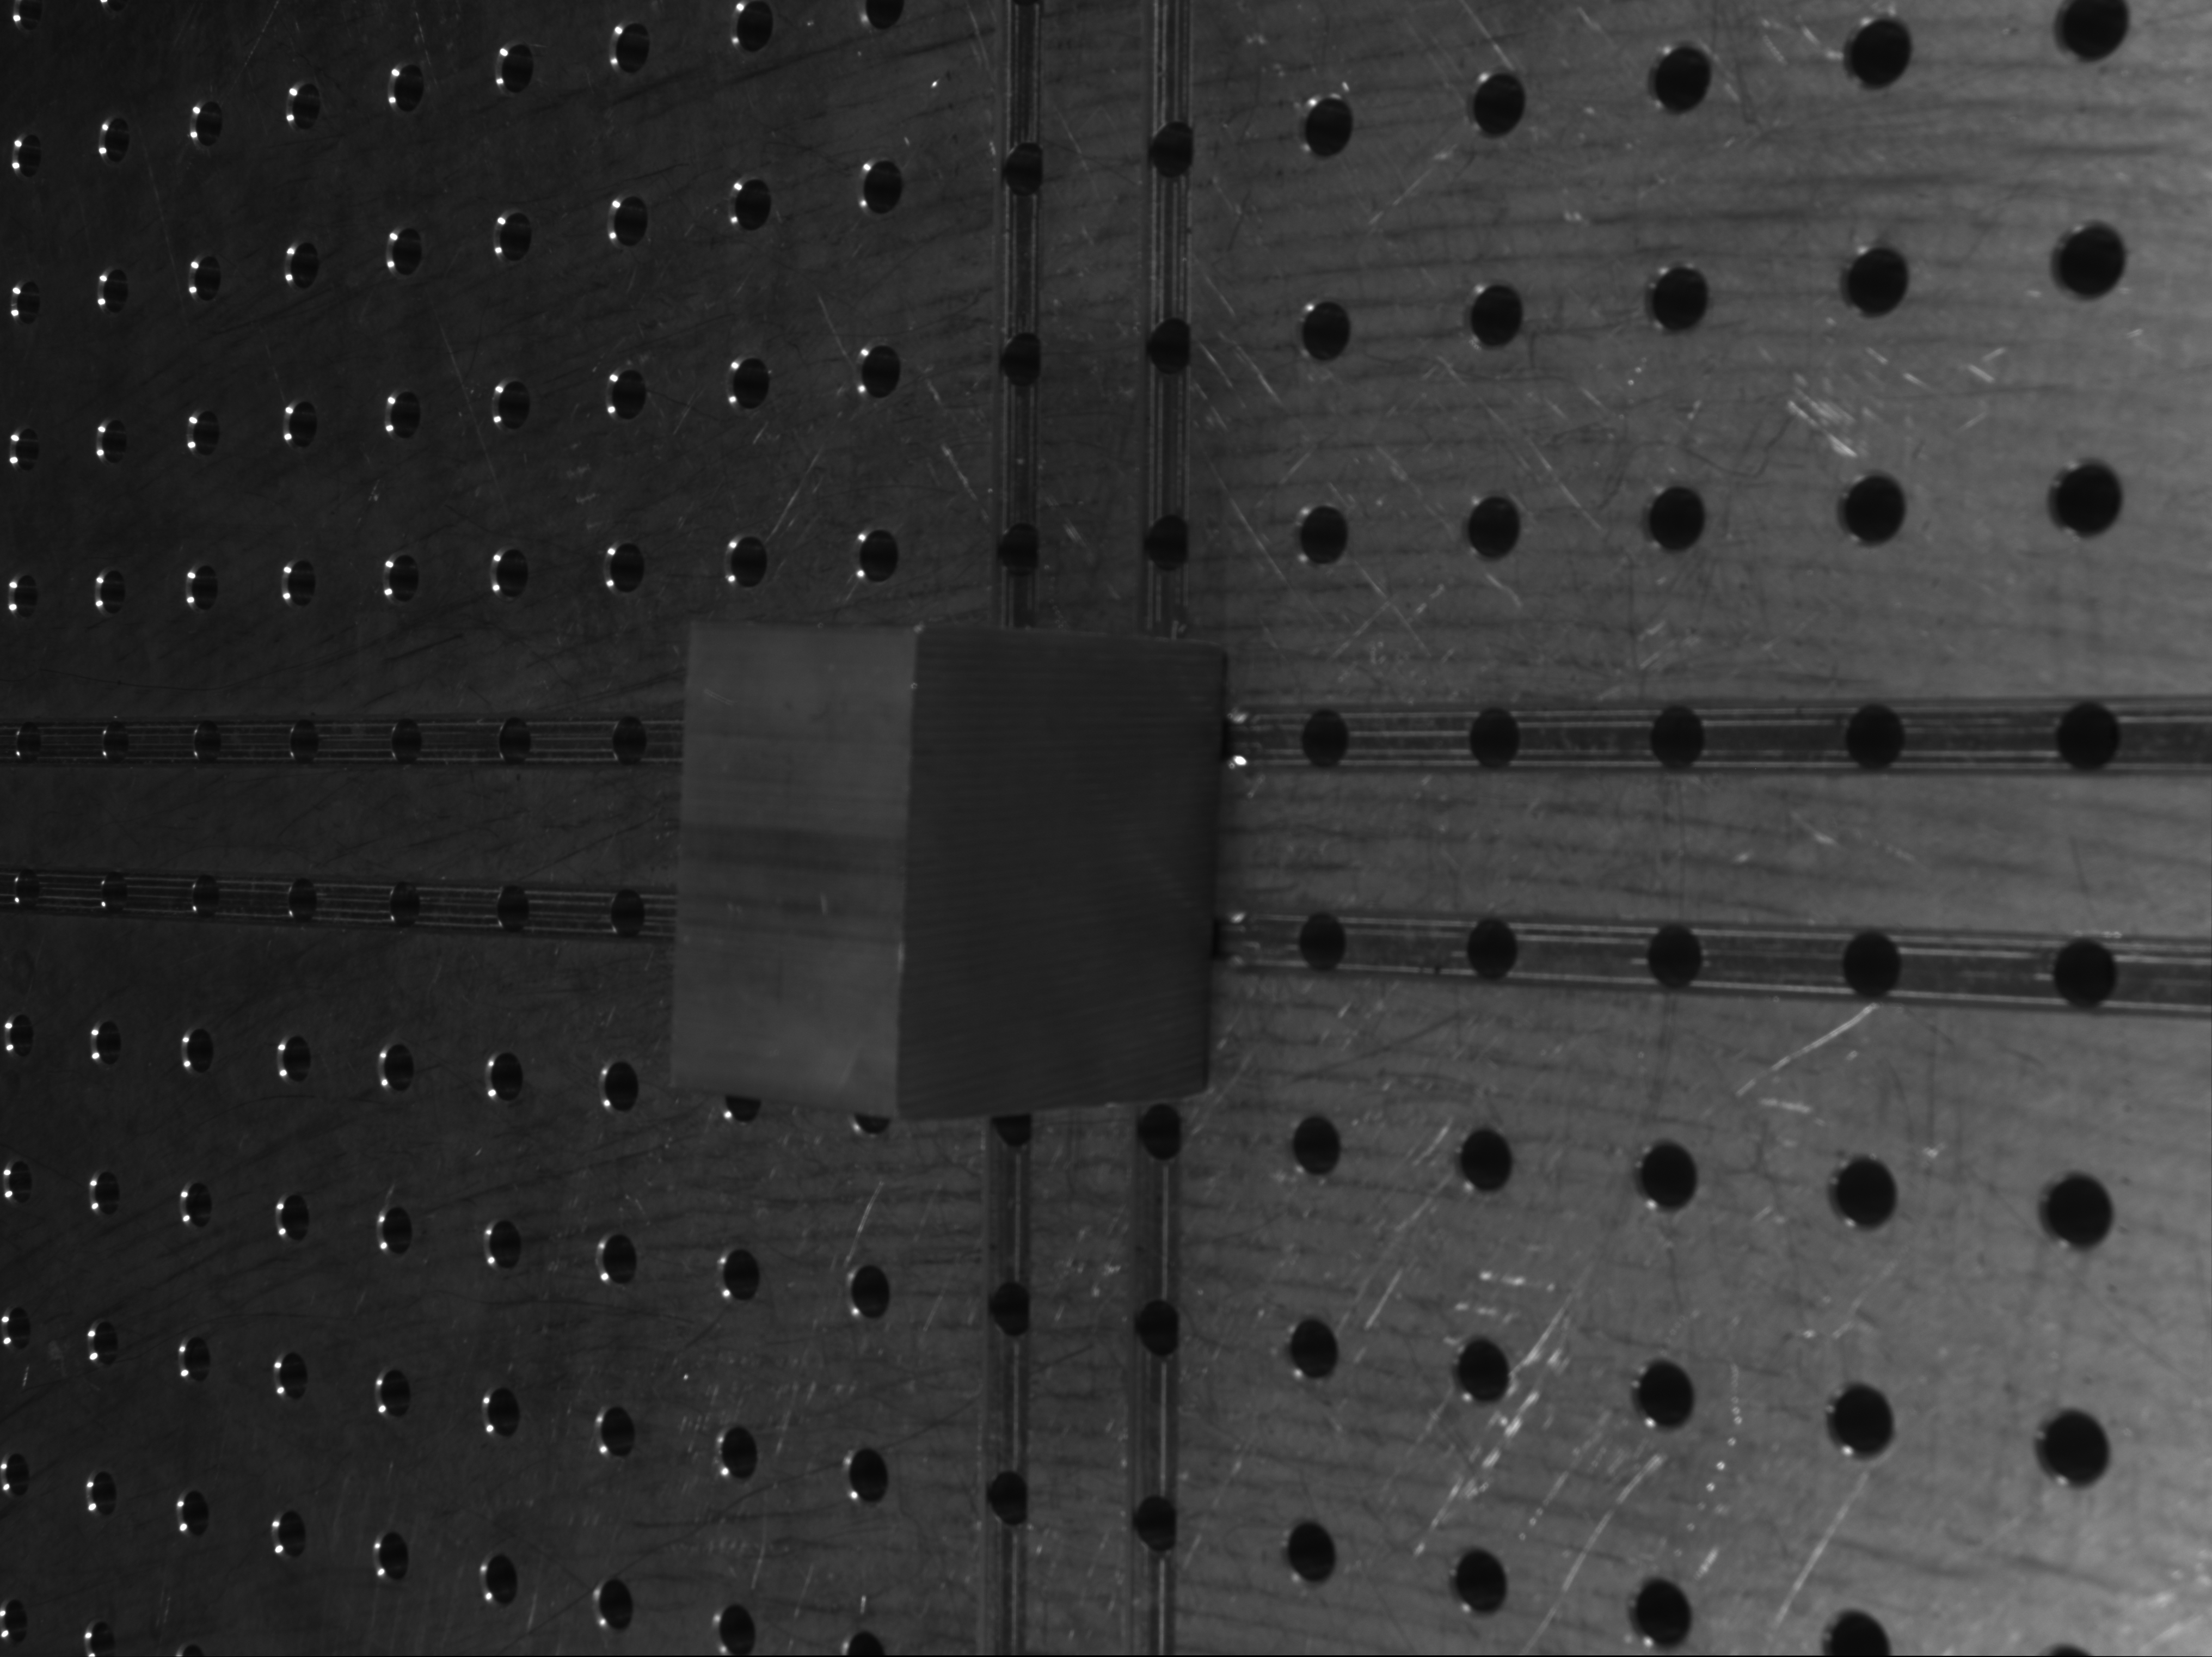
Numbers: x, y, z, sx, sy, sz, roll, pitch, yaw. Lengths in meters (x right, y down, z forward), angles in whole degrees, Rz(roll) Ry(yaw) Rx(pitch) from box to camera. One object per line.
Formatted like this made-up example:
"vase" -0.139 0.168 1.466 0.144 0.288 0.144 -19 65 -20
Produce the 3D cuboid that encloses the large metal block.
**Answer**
"large metal block" -0.030 0.007 0.628 0.050 0.080 0.080 4 93 39
